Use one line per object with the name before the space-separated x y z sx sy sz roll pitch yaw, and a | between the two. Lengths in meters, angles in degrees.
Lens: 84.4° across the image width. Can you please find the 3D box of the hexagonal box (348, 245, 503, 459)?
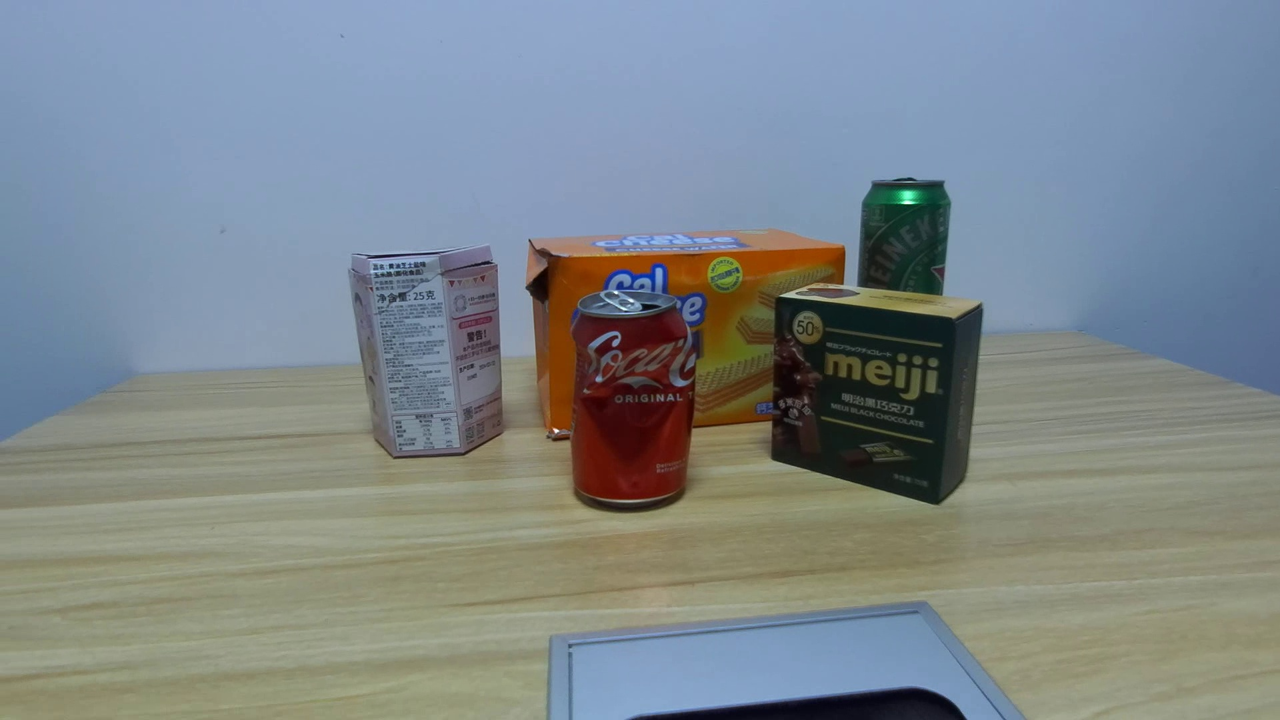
hexagonal box | -0.144 -0.009 0.490 0.084 0.135 0.092 7 17 28

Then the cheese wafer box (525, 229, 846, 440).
cheese wafer box | 0.027 -0.032 0.558 0.227 0.137 0.149 -4 15 -12

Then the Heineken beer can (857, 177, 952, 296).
Heineken beer can | 0.208 -0.056 0.565 0.067 0.169 0.067 -1 12 0

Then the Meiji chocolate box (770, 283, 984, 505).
Meiji chocolate box | 0.139 0.016 0.424 0.109 0.109 0.056 11 20 38

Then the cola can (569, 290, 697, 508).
cola can | -0.007 0.020 0.400 0.066 0.117 0.065 -7 17 -19
